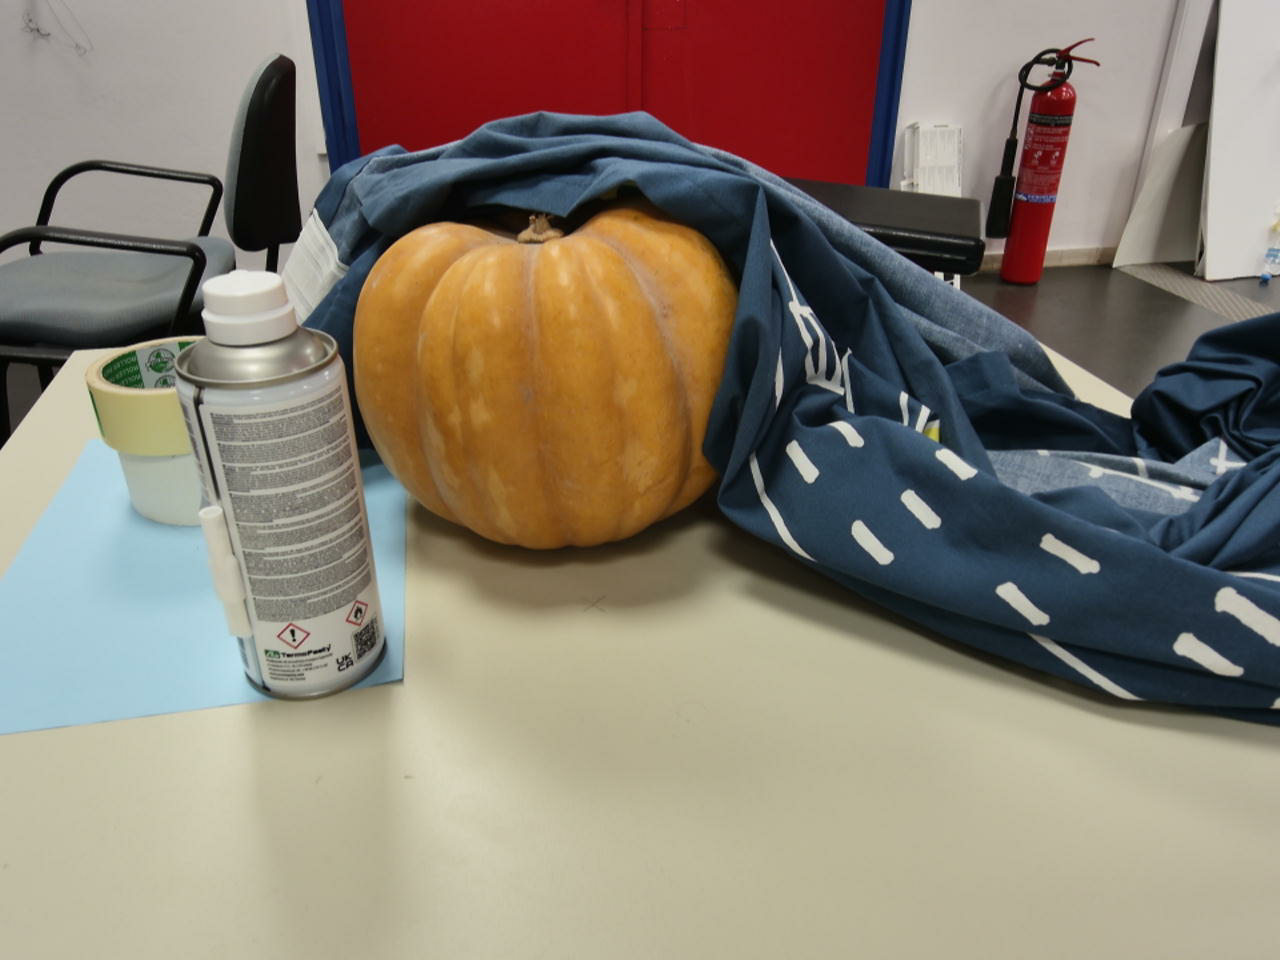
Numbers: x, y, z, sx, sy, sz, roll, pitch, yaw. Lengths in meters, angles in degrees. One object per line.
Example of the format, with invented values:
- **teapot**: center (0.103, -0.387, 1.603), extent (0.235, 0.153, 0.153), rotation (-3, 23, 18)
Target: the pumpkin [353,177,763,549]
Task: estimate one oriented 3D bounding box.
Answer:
- **pumpkin**: center (-0.042, -0.066, 0.567), extent (0.230, 0.194, 0.230), rotation (0, 27, 0)
